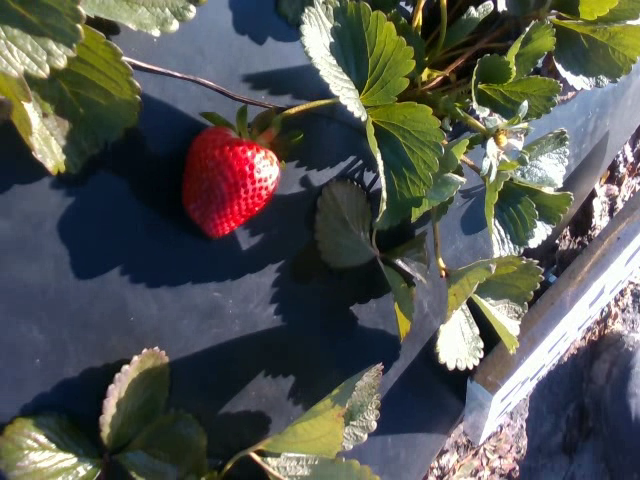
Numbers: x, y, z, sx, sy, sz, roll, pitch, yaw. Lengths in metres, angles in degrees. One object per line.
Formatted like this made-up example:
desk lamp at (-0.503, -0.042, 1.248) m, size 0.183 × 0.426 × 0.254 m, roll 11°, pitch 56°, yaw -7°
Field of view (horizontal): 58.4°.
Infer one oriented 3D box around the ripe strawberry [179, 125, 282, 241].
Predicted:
ripe strawberry at (-0.038, -0.024, 0.235) m, size 0.044 × 0.056 × 0.042 m, roll 19°, pitch -14°, yaw 19°
